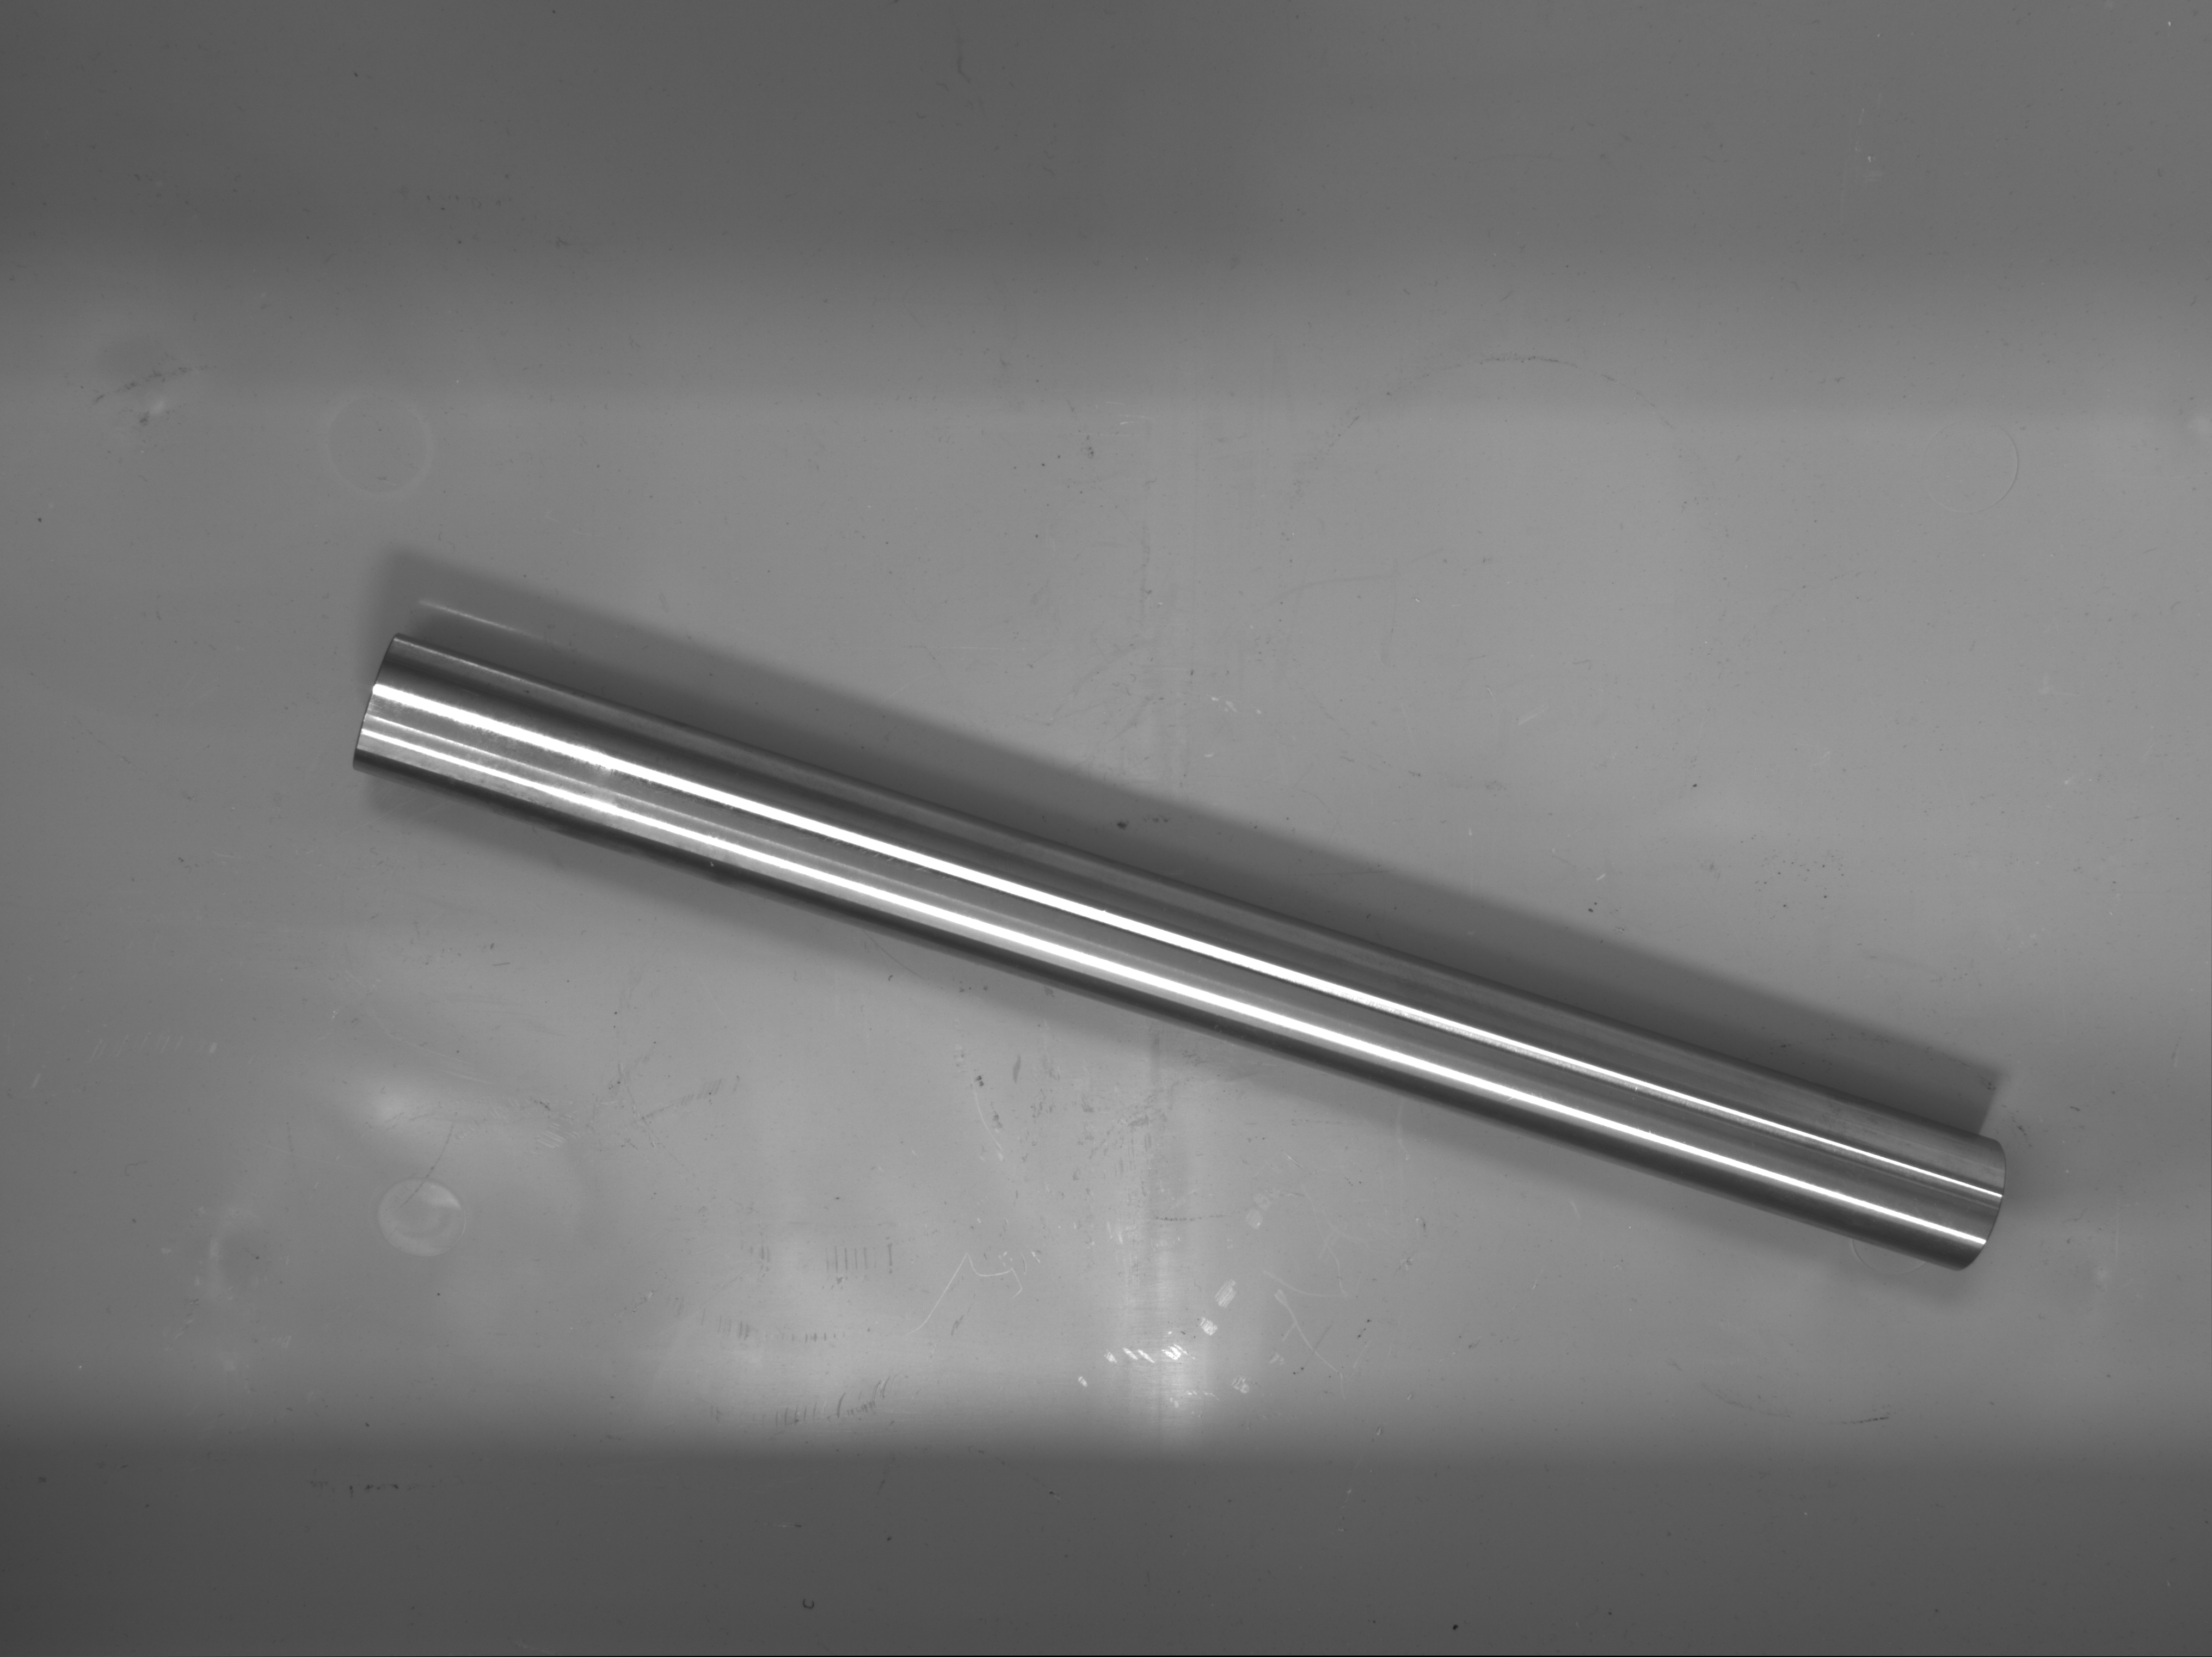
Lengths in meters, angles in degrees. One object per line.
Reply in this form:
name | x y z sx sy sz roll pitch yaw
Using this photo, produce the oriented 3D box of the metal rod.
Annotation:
metal rod | 0.015 0.023 0.651 0.300 0.025 0.025 18 109 -6
